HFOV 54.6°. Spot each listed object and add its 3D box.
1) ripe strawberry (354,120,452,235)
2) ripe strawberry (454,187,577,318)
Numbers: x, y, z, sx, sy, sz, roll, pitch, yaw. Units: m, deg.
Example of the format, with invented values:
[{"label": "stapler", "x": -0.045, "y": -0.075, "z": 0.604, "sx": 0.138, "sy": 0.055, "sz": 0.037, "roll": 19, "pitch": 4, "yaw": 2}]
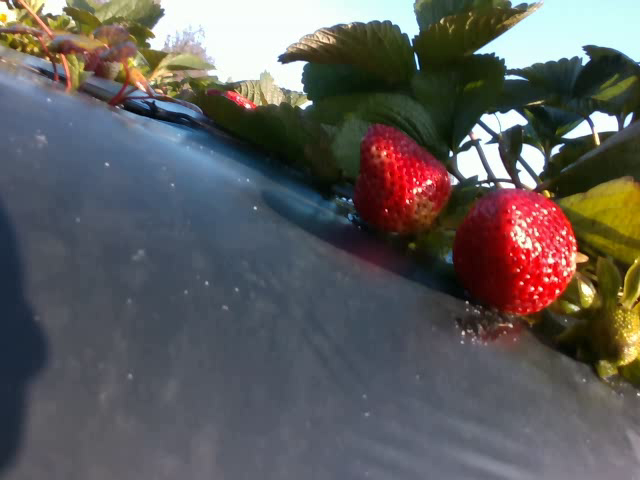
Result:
[{"label": "ripe strawberry", "x": 0.032, "y": -0.024, "z": 0.244, "sx": 0.039, "sy": 0.054, "sz": 0.048, "roll": -31, "pitch": 12, "yaw": 40}, {"label": "ripe strawberry", "x": 0.060, "y": -0.001, "z": 0.184, "sx": 0.038, "sy": 0.043, "sz": 0.053, "roll": -40, "pitch": -26, "yaw": 6}]
